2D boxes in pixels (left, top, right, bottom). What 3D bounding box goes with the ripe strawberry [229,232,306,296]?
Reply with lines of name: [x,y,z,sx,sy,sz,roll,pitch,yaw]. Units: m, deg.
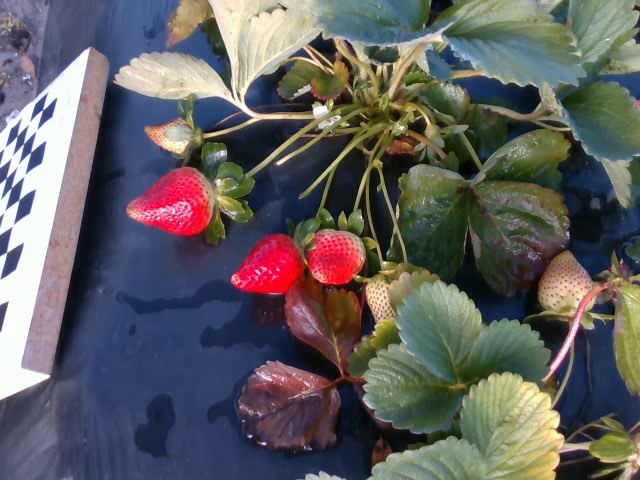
ripe strawberry: [-0.037,0.018,0.381,0.055,0.042,0.044,-21,17,-41]

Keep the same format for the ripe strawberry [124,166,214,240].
ripe strawberry: [-0.103,-0.028,0.412,0.065,0.050,0.050,-9,29,-29]
